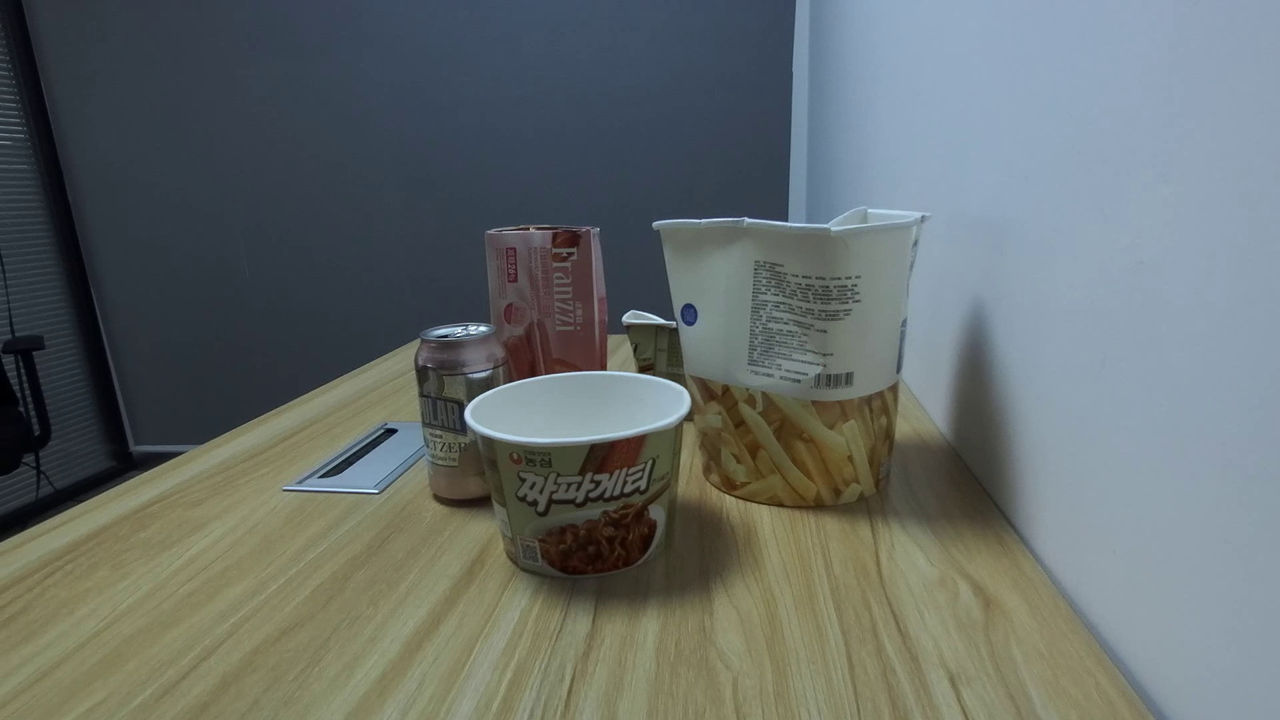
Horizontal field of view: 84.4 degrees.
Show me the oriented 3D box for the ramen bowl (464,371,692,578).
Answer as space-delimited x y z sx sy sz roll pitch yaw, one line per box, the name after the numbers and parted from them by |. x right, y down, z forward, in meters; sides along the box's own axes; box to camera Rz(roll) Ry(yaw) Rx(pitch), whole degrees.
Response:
-0.036 0.070 0.452 0.140 0.095 0.140 -1 14 1 | ramen bowl

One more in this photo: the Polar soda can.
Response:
-0.132 0.038 0.534 0.067 0.125 0.067 -4 13 1 | Polar soda can

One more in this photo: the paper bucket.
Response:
0.124 -0.012 0.538 0.163 0.202 0.168 -14 20 -41 | paper bucket

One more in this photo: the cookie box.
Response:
-0.079 -0.030 0.655 0.105 0.187 0.049 -1 13 8 | cookie box

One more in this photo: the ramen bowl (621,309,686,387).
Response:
0.049 -0.004 0.713 0.128 0.093 0.112 4 17 29 | ramen bowl
